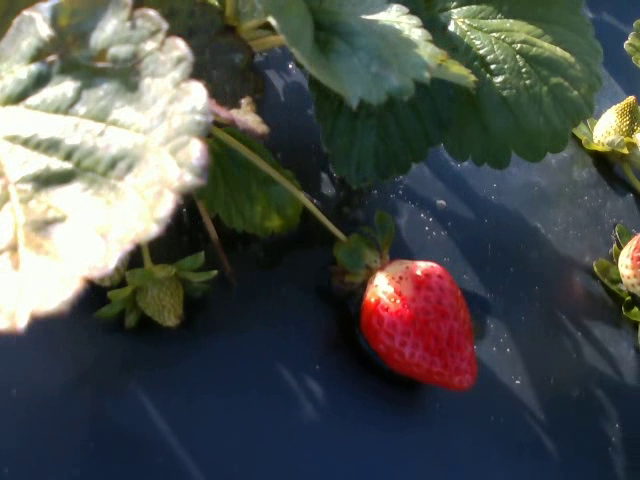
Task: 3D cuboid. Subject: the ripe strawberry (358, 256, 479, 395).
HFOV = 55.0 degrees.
[{"bbox_3d":[0.029,0.024,0.158,0.030,0.045,0.033,-32,-18,4],"label":"ripe strawberry"}]
